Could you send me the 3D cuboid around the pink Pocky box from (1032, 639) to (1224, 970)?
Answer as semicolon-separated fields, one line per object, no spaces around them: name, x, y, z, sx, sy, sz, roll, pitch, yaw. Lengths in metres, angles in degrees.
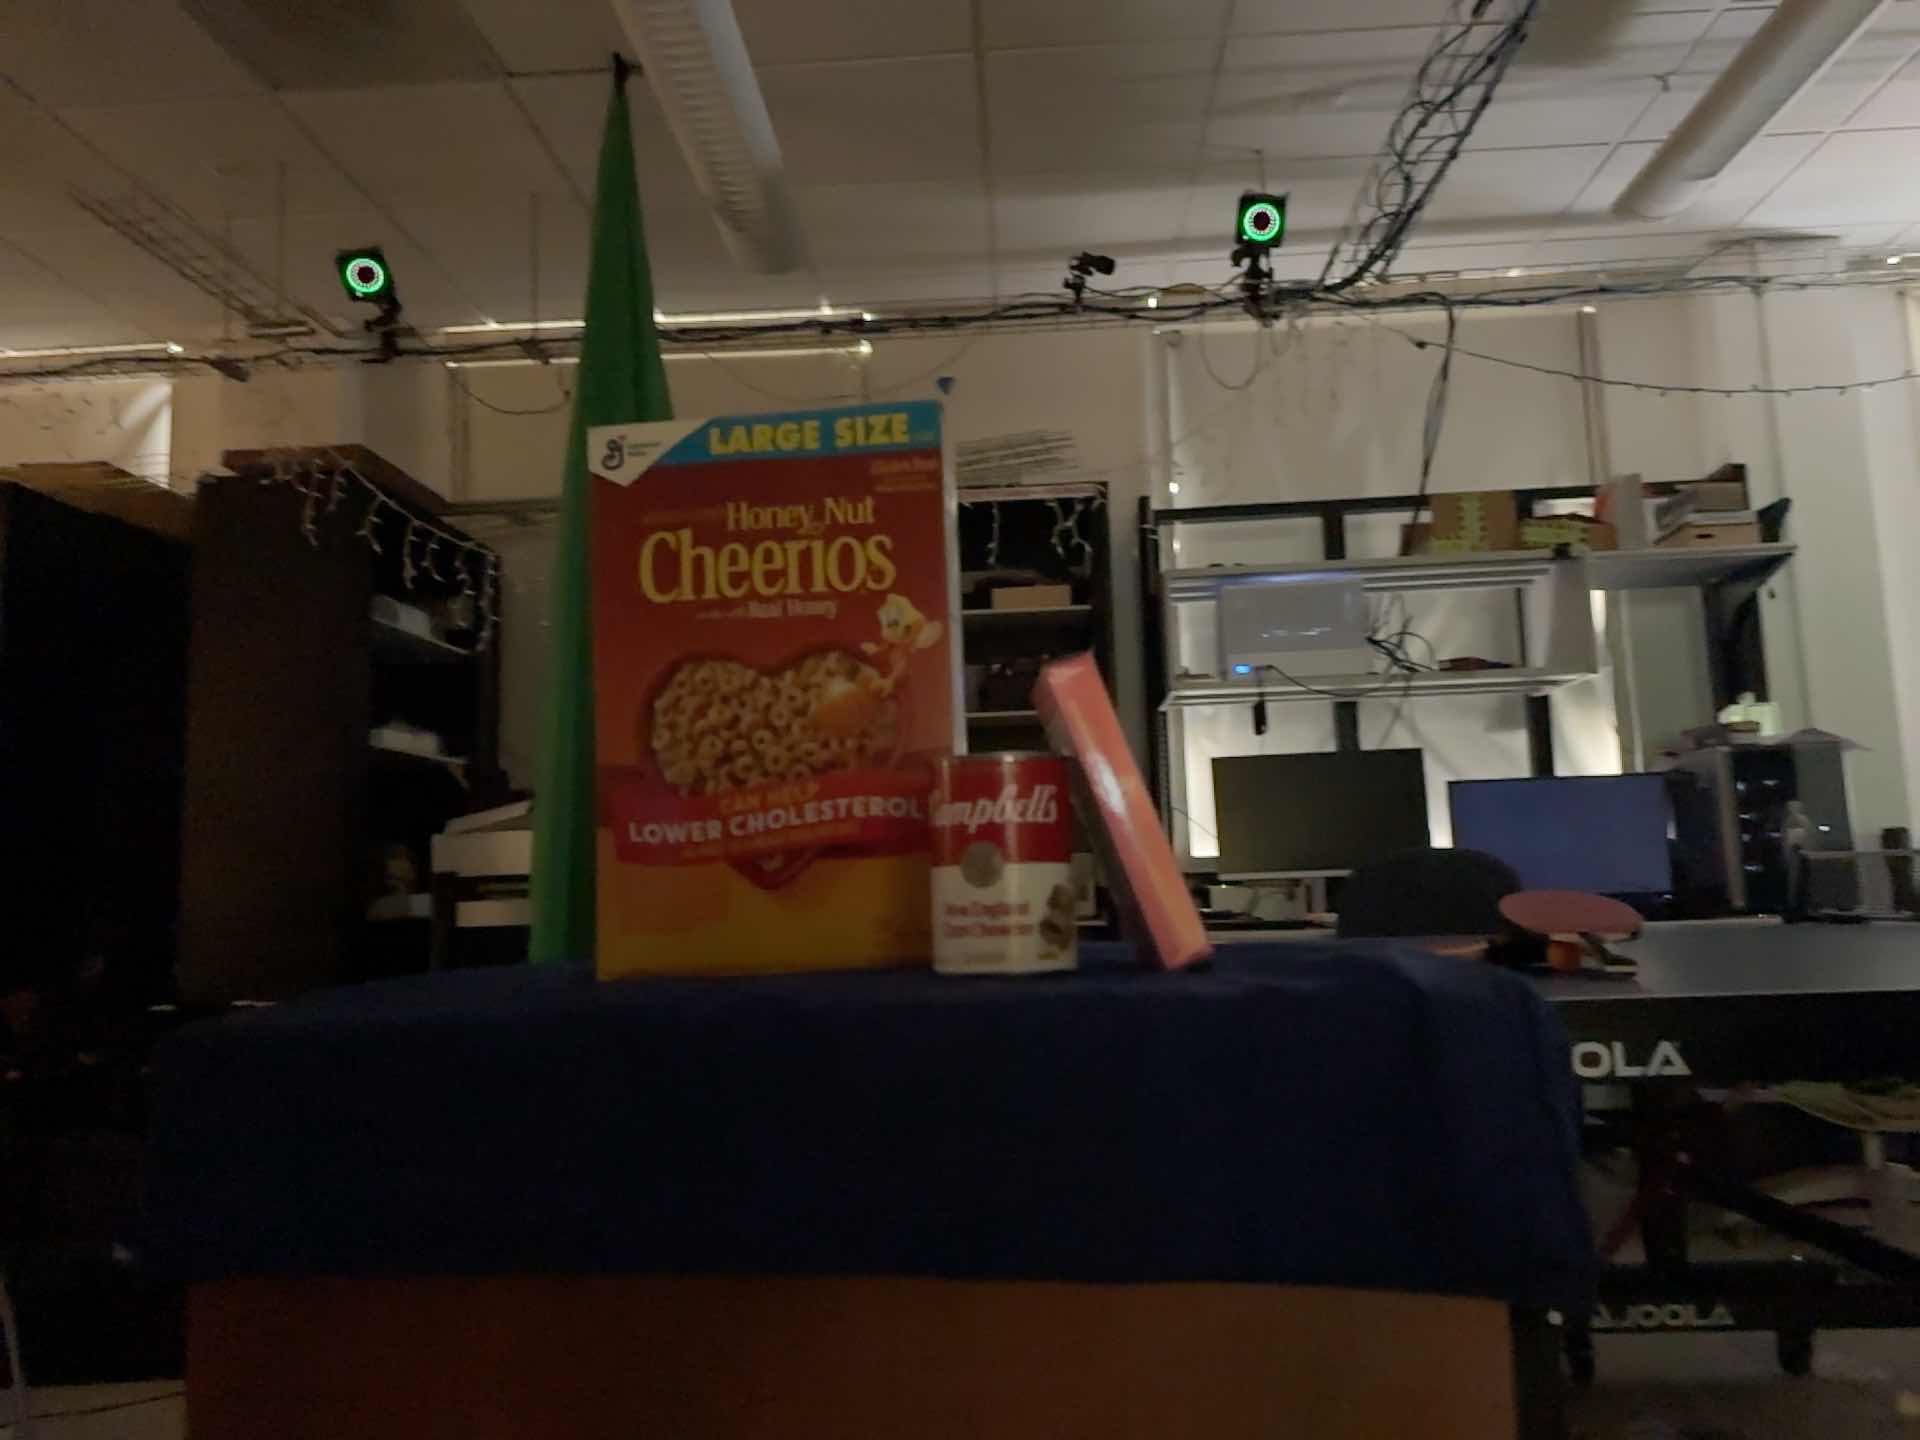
pink Pocky box;0.078;0.041;0.648;0.029;0.155;0.084;-22;-7;-4

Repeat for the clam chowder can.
clam chowder can;0.020;0.070;0.642;0.068;0.102;0.068;0;-5;0

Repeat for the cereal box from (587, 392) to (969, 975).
cereal box;-0.100;-0.017;0.745;0.195;0.297;0.065;-2;-6;11
